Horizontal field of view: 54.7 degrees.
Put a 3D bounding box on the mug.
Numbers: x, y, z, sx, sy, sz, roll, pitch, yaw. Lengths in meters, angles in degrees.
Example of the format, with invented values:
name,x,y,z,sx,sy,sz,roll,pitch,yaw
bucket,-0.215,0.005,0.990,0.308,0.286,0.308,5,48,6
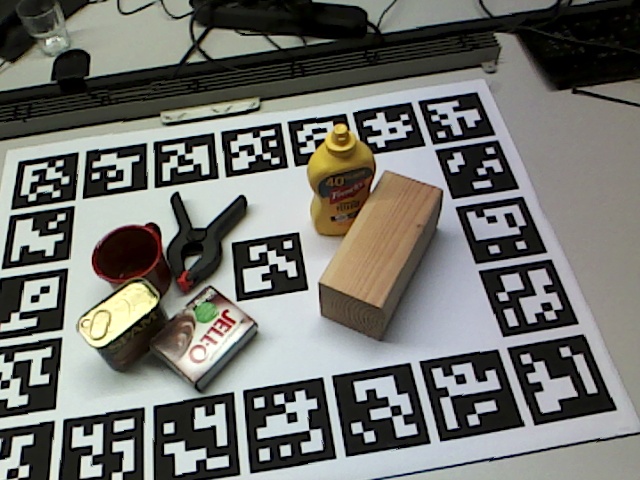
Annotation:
name,x,y,z,sx,sy,sz,roll,pitch,yaw
mug,-0.250,0.034,0.890,0.093,0.081,0.117,10,59,11

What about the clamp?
name,x,y,z,sx,sy,sz,roll,pitch,yaw
clamp,-0.174,-0.008,0.918,0.122,0.036,0.165,8,59,8

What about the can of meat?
name,x,y,z,sx,sy,sz,roll,pitch,yaw
can of meat,-0.248,0.108,0.806,0.101,0.083,0.058,-35,62,-18

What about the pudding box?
name,x,y,z,sx,sy,sz,roll,pitch,yaw
pudding box,-0.147,0.127,0.819,0.090,0.038,0.113,35,64,24

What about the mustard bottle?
name,x,y,z,sx,sy,sz,roll,pitch,yaw
mustard bottle,0.032,-0.087,0.856,0.096,0.191,0.059,-13,57,-4

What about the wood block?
name,x,y,z,sx,sy,sz,roll,pitch,yaw
wood block,0.091,0.022,0.844,0.090,0.090,0.206,22,59,20
